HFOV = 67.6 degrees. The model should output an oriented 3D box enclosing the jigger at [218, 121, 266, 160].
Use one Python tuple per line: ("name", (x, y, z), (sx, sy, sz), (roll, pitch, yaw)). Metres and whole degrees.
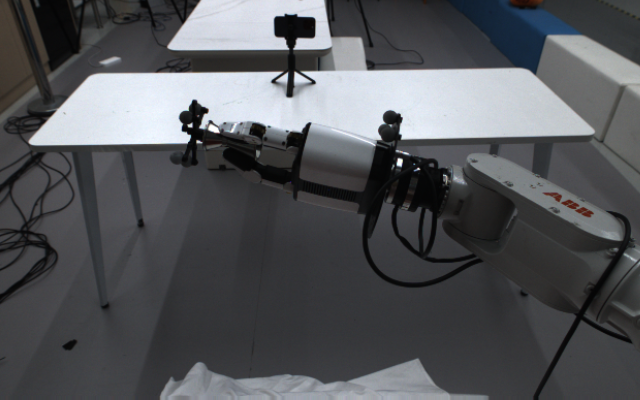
("jigger", (-0.103, -0.078, 0.616), (0.071, 0.043, 0.043), (10, 35, 1))
